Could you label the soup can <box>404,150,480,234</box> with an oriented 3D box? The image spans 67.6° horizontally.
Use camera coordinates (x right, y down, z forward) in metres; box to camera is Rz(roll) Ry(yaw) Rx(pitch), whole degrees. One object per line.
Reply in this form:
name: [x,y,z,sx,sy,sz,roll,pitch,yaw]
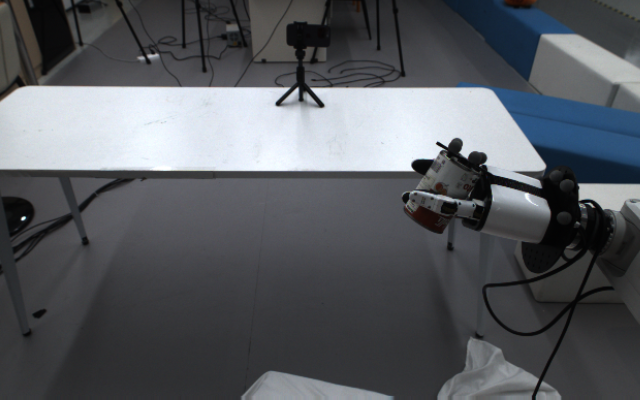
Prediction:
soup can: [0.175,-0.013,0.693,0.067,0.101,0.067,27,18,-10]
